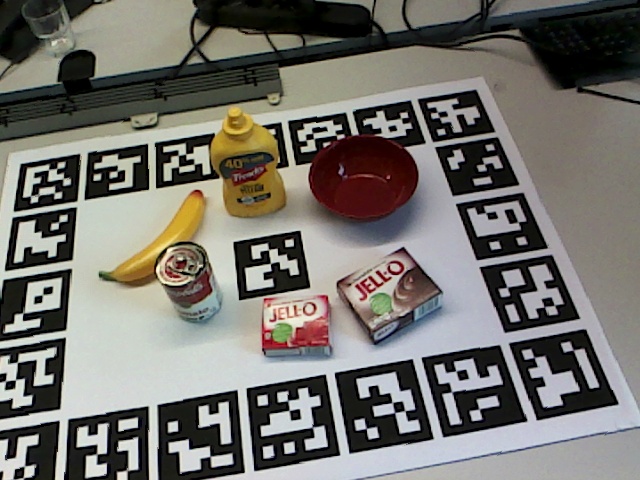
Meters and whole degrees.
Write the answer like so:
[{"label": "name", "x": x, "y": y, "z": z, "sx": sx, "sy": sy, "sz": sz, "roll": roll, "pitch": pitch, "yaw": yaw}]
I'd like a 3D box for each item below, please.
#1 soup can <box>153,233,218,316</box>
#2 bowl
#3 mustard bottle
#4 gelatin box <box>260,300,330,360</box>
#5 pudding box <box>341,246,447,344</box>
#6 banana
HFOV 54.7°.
[{"label": "soup can", "x": -0.178, "y": 0.048, "z": 0.831, "sx": 0.068, "sy": 0.102, "sz": 0.068, "roll": -2, "pitch": 53, "yaw": 2}, {"label": "bowl", "x": 0.079, "y": -0.082, "z": 0.942, "sx": 0.162, "sy": 0.055, "sz": 0.162, "roll": -4, "pitch": 54, "yaw": 5}, {"label": "mustard bottle", "x": -0.097, "y": -0.118, "z": 0.884, "sx": 0.096, "sy": 0.191, "sz": 0.058, "roll": -8, "pitch": 52, "yaw": -1}, {"label": "gelatin box", "x": -0.033, "y": 0.119, "z": 0.821, "sx": 0.089, "sy": 0.030, "sz": 0.073, "roll": -3, "pitch": 58, "yaw": 4}, {"label": "pudding box", "x": 0.098, "y": 0.074, "z": 0.836, "sx": 0.113, "sy": 0.038, "sz": 0.090, "roll": -29, "pitch": 62, "yaw": -14}, {"label": "banana", "x": -0.231, "y": -0.012, "z": 0.930, "sx": 0.075, "sy": 0.038, "sz": 0.197, "roll": 22, "pitch": 59, "yaw": 31}]
